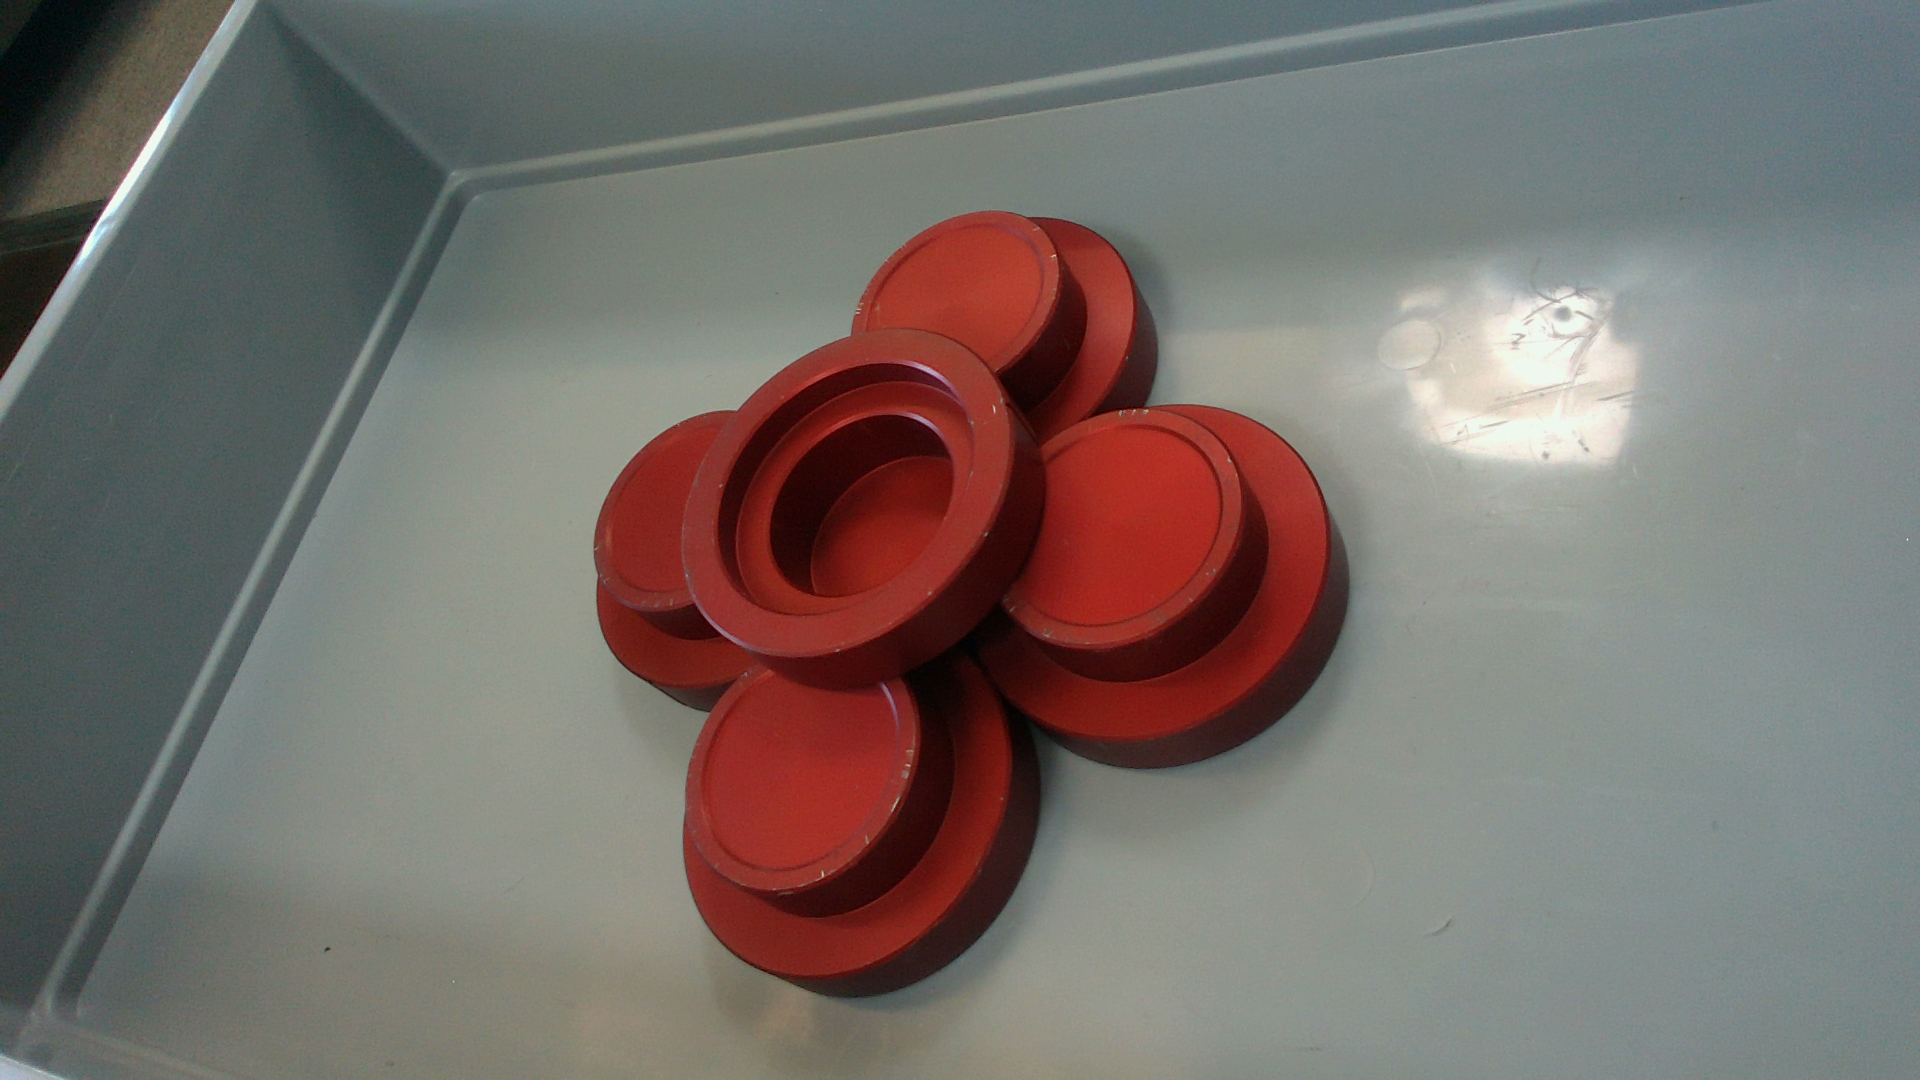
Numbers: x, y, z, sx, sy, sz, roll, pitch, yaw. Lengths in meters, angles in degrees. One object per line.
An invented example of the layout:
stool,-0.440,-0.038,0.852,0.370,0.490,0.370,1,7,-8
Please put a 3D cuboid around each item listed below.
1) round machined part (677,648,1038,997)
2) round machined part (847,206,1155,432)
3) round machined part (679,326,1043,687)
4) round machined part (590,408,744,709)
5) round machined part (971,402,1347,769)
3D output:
round machined part,-0.032,0.064,0.358,0.098,0.042,0.098,-13,55,19
round machined part,0.005,-0.061,0.414,0.098,0.042,0.098,-13,56,21
round machined part,-0.023,-0.005,0.369,0.098,0.042,0.098,-13,56,21
round machined part,-0.073,-0.001,0.420,0.098,0.042,0.098,-13,56,21
round machined part,0.046,0.005,0.353,0.098,0.042,0.098,-13,56,21
